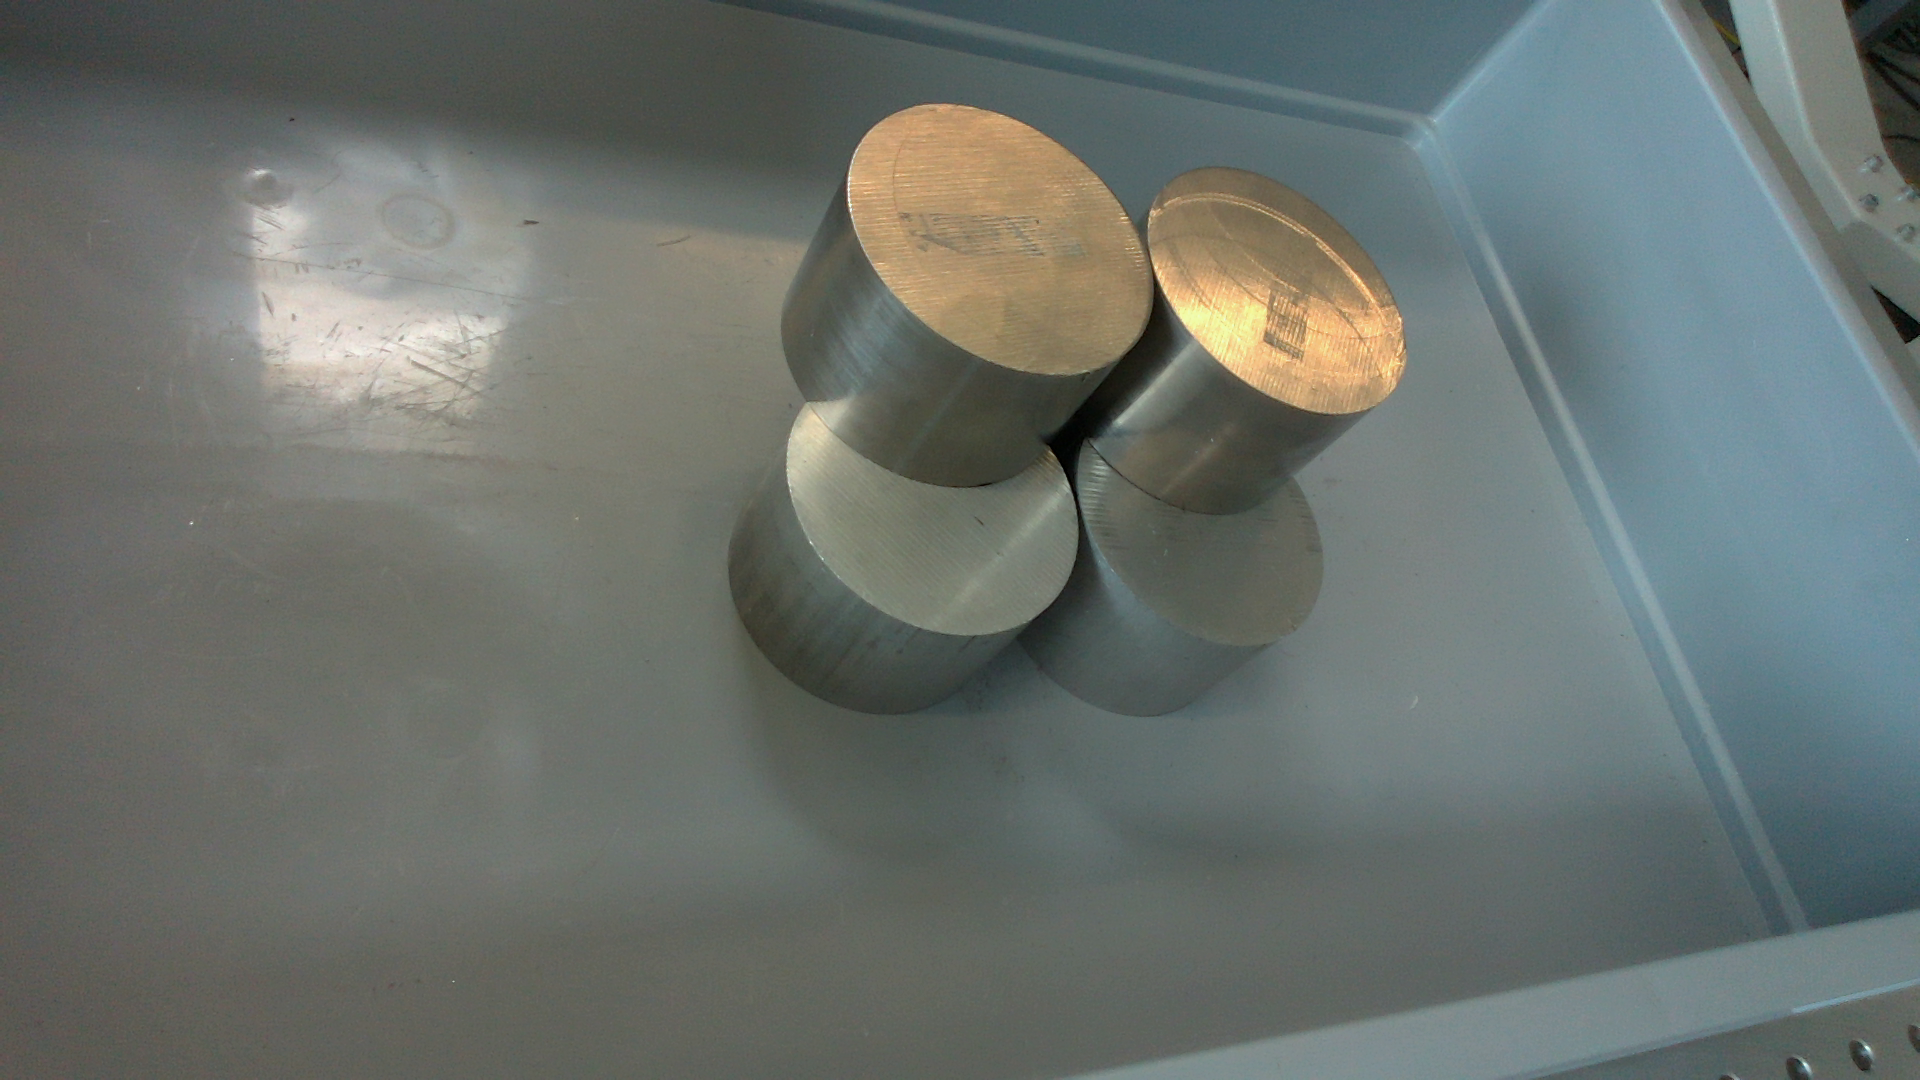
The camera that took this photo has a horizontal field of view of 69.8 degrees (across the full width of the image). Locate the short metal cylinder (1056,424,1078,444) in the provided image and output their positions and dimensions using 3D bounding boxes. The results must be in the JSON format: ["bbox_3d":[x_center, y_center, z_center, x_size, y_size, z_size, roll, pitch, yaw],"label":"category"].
[{"bbox_3d":[0.008,-0.059,0.413,0.080,0.050,0.080,14,56,-21],"label":"short metal cylinder"}]

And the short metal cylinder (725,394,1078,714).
[{"bbox_3d":[-0.016,-0.001,0.363,0.080,0.050,0.080,14,56,-21],"label":"short metal cylinder"}]

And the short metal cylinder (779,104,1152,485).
[{"bbox_3d":[0.001,-0.061,0.345,0.080,0.050,0.080,14,56,-21],"label":"short metal cylinder"}]

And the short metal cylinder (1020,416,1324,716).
[{"bbox_3d":[0.057,0.004,0.400,0.080,0.050,0.080,14,56,-21],"label":"short metal cylinder"}]

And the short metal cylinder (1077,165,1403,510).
[{"bbox_3d":[0.073,-0.056,0.380,0.080,0.050,0.080,14,56,-21],"label":"short metal cylinder"}]
